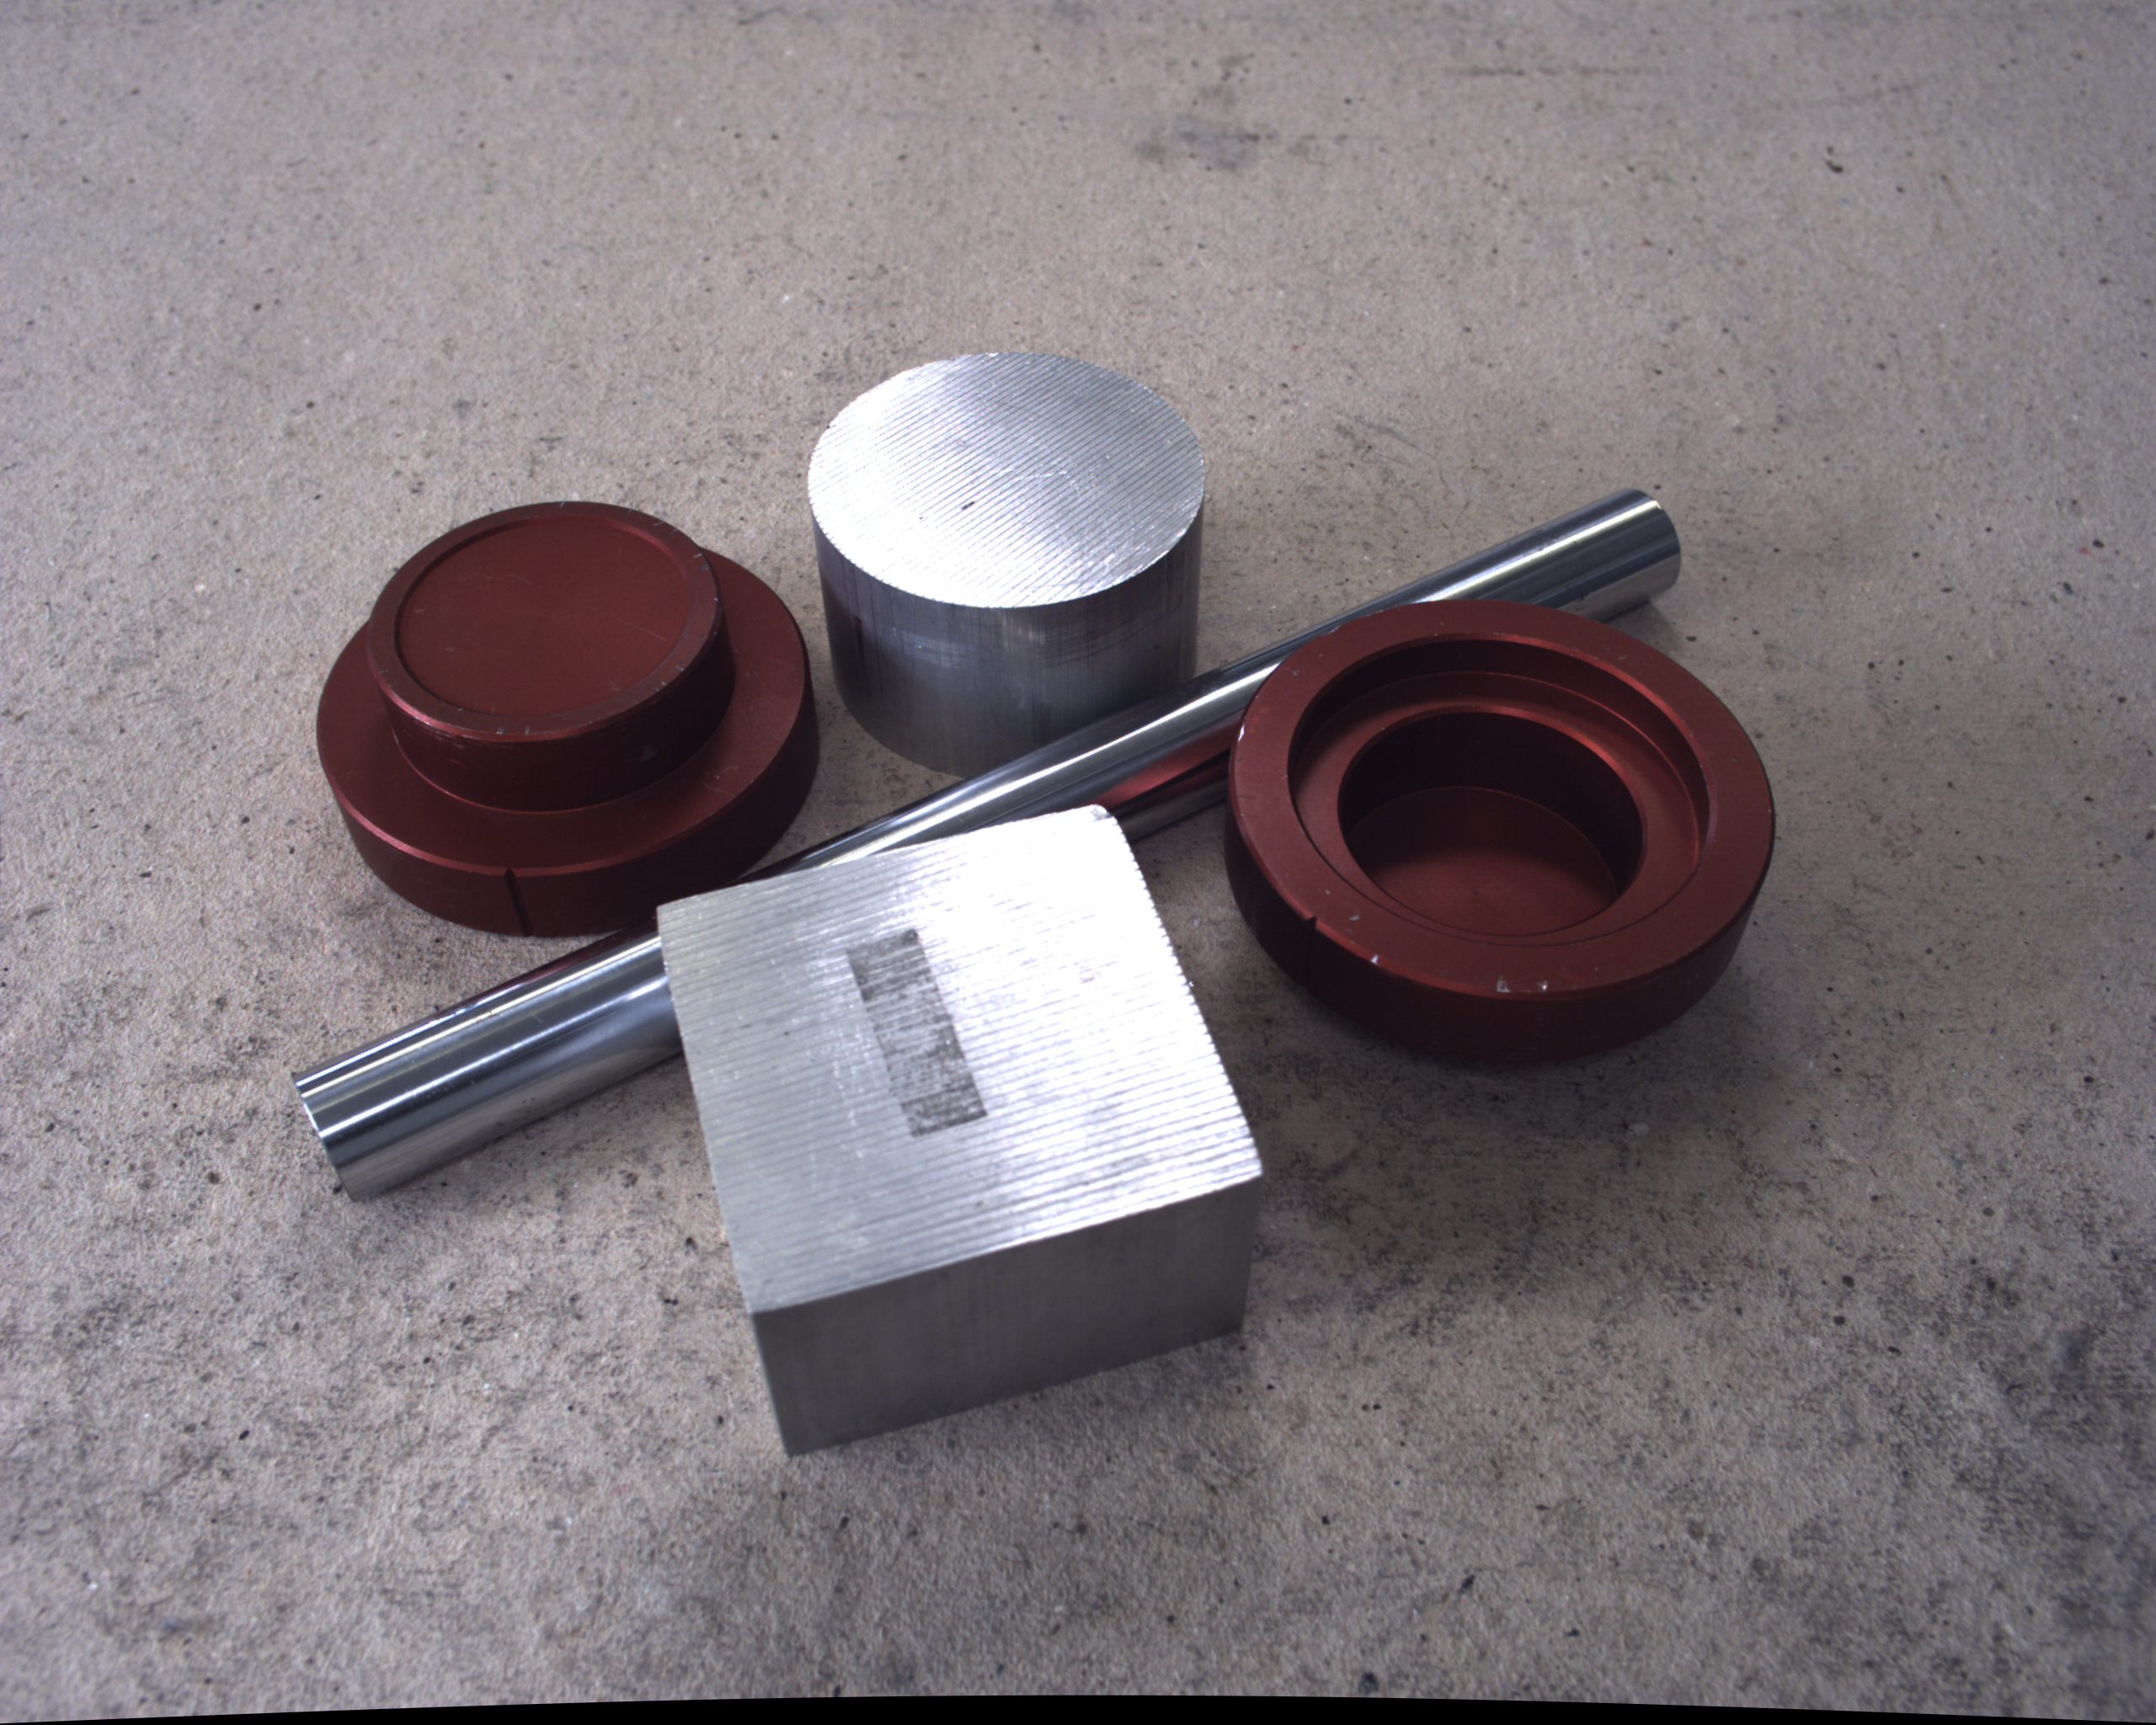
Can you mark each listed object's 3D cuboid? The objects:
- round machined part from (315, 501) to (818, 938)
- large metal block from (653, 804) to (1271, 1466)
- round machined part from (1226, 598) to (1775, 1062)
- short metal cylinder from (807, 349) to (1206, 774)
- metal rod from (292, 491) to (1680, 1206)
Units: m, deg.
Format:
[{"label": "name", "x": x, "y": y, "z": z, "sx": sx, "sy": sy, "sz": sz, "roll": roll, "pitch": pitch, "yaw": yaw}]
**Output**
[{"label": "round machined part", "x": -0.104, "y": -0.036, "z": 0.422, "sx": 0.099, "sy": 0.042, "sz": 0.098, "roll": 0, "pitch": 50, "yaw": 0}, {"label": "large metal block", "x": -0.021, "y": 0.044, "z": 0.352, "sx": 0.081, "sy": 0.050, "sz": 0.080, "roll": -13, "pitch": 51, "yaw": -11}, {"label": "round machined part", "x": 0.077, "y": -0.002, "z": 0.395, "sx": 0.099, "sy": 0.042, "sz": 0.098, "roll": 0, "pitch": 50, "yaw": 0}, {"label": "short metal cylinder", "x": -0.014, "y": -0.064, "z": 0.441, "sx": 0.081, "sy": 0.050, "sz": 0.080, "roll": 0, "pitch": 50, "yaw": 0}, {"label": "metal rod", "x": -0.003, "y": -0.011, "z": 0.415, "sx": 0.302, "sy": 0.025, "sz": 0.025, "roll": -25, "pitch": 55, "yaw": -20}]
